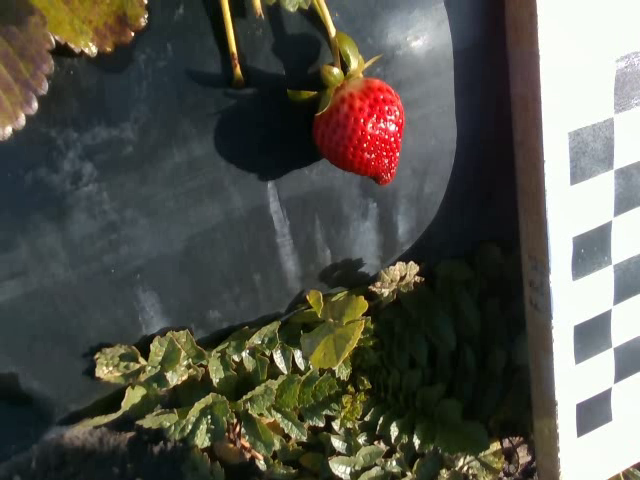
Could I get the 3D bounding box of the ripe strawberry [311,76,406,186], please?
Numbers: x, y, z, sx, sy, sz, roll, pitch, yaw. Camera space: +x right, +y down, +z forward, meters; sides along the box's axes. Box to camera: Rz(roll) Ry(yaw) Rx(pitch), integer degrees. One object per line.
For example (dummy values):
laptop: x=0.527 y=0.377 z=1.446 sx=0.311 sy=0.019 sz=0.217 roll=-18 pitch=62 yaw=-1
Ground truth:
ripe strawberry: x=0.017 y=-0.037 z=0.217 sx=0.040 sy=0.044 sz=0.036 roll=-37 pitch=15 yaw=-6
